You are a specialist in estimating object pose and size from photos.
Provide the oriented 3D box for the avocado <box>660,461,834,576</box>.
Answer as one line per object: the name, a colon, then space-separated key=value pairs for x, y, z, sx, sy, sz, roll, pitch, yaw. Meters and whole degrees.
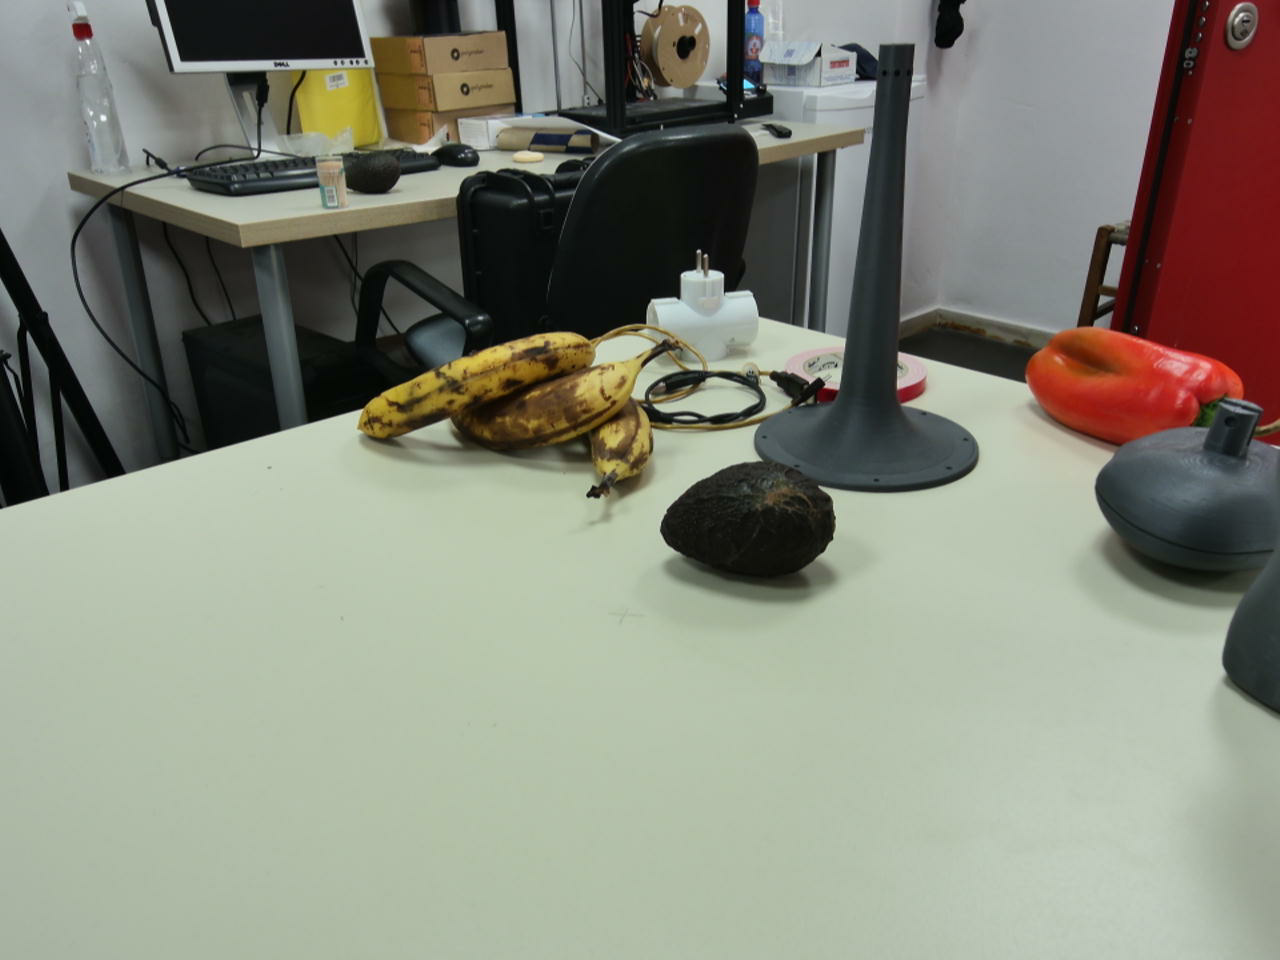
avocado: x=0.058 y=0.020 z=0.539 sx=0.092 sy=0.062 sz=0.062 roll=11 pitch=26 yaw=23
